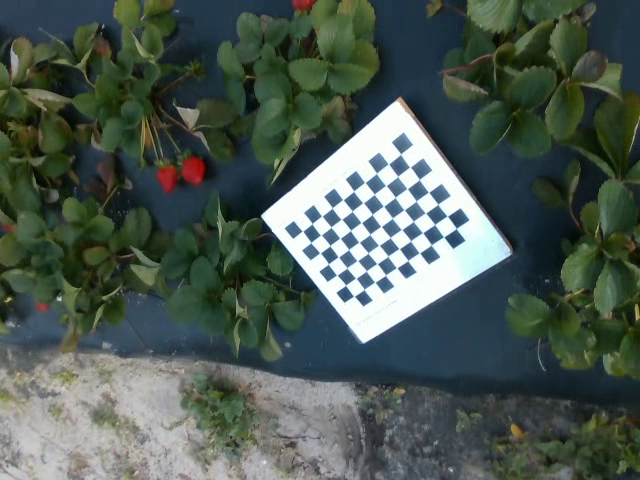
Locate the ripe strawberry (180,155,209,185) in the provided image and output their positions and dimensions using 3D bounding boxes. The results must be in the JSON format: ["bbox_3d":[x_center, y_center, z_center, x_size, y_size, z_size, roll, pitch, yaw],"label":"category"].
[{"bbox_3d":[-0.250,-0.128,1.098,0.051,0.058,0.064,5,36,-45],"label":"ripe strawberry"}]

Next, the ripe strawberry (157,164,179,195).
[{"bbox_3d":[-0.305,-0.118,1.127,0.049,0.056,0.041,-20,-13,24],"label":"ripe strawberry"}]
